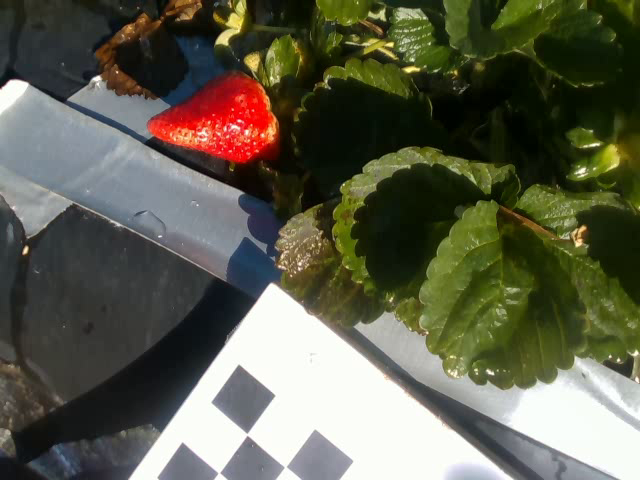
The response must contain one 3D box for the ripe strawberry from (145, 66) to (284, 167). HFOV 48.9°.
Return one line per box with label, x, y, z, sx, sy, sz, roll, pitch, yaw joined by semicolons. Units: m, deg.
ripe strawberry;-0.058;-0.056;0.370;0.065;0.062;0.057;-19;-1;-32
